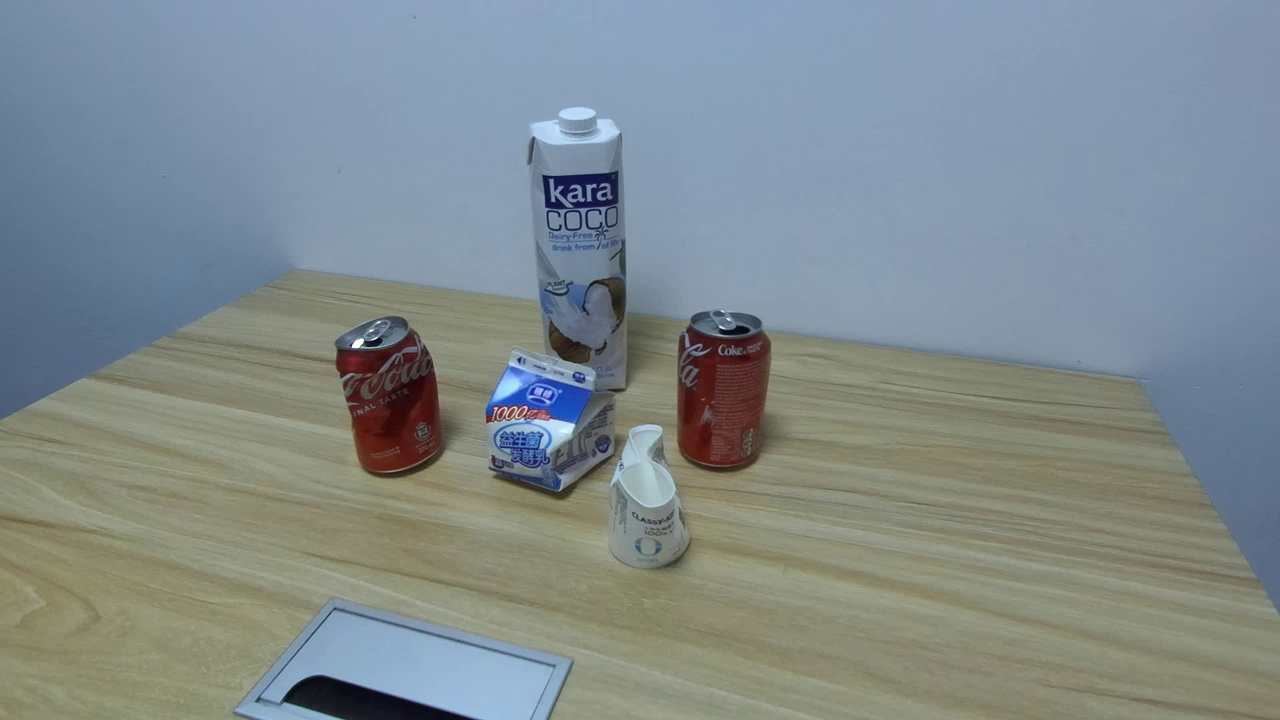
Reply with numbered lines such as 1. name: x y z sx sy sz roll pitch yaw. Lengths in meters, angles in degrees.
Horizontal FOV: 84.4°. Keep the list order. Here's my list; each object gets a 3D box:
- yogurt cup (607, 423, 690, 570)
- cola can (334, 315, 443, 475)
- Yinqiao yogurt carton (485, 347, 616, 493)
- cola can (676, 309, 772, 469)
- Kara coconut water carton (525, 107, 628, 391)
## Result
1. yogurt cup: 0.007 0.093 0.464 0.054 0.071 0.075 -15 34 -26
2. cola can: -0.193 0.027 0.546 0.069 0.112 0.065 -17 33 -28
3. Yinqiao yogurt carton: -0.067 0.041 0.531 0.074 0.097 0.080 12 24 22
4. cola can: 0.060 0.022 0.542 0.072 0.117 0.065 9 32 14
5. Kara coconut water carton: -0.051 -0.090 0.610 0.077 0.245 0.075 -5 28 -7
